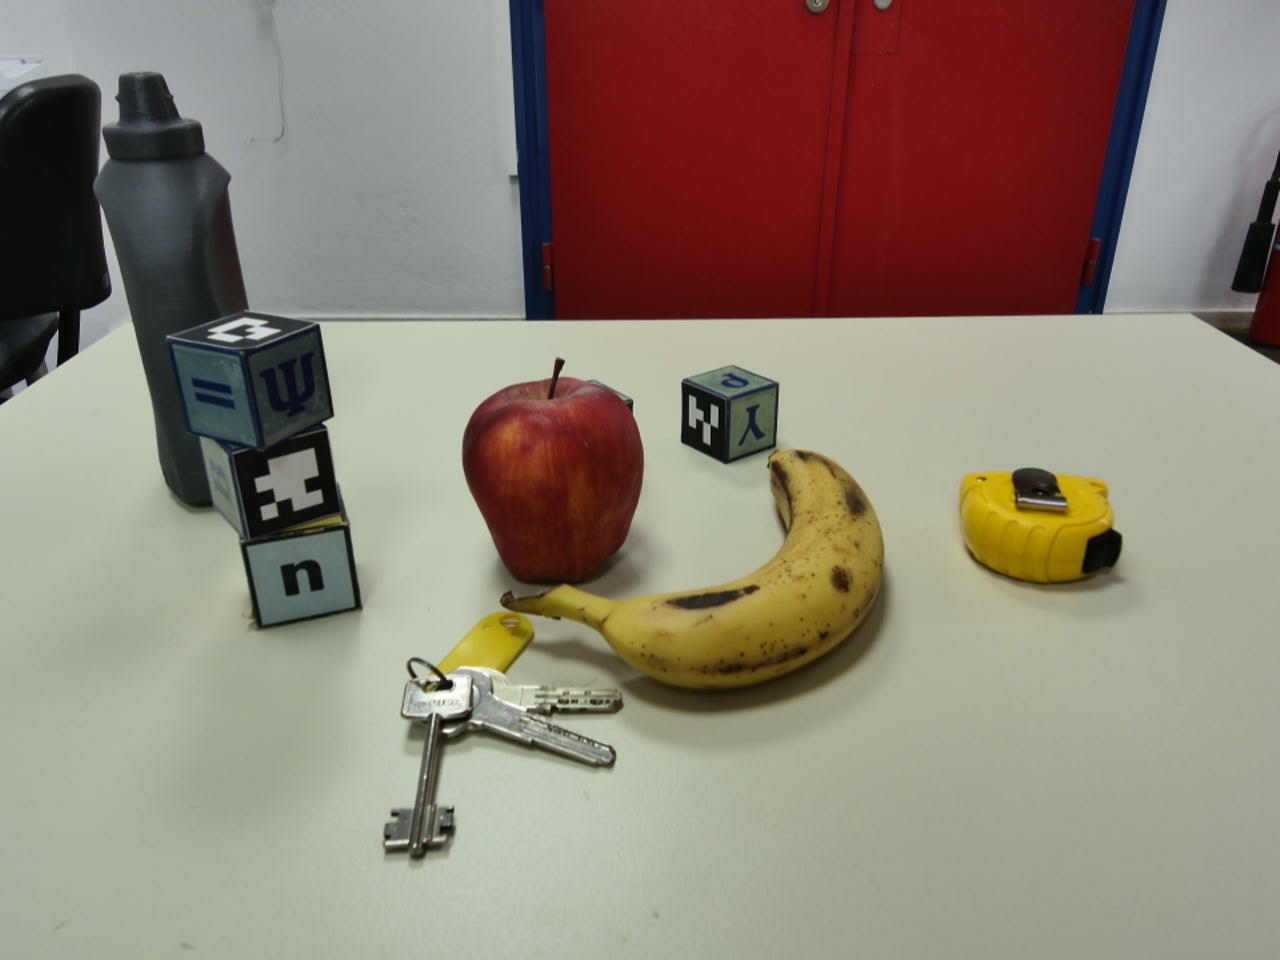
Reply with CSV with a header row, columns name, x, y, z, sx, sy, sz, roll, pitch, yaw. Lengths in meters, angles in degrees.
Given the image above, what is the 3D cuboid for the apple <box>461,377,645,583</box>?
name,x,y,z,sx,sy,sz,roll,pitch,yaw
apple,-0.037,-0.007,0.424,0.083,0.090,0.083,0,24,0
